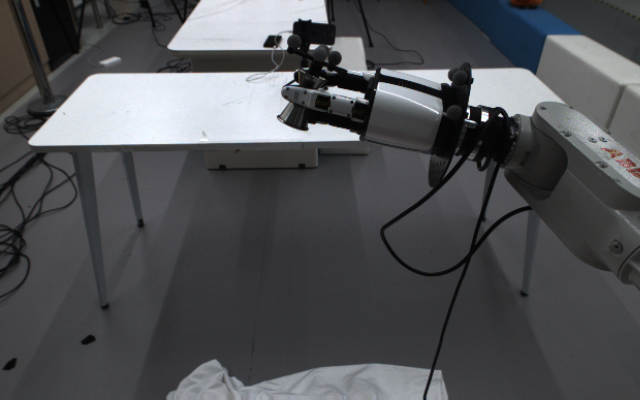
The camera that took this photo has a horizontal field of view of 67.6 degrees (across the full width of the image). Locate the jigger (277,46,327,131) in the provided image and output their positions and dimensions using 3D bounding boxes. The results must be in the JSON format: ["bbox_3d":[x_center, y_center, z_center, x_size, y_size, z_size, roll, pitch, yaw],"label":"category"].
[{"bbox_3d":[-0.023,-0.128,0.614,0.043,0.071,0.043,23,19,-8],"label":"jigger"}]
